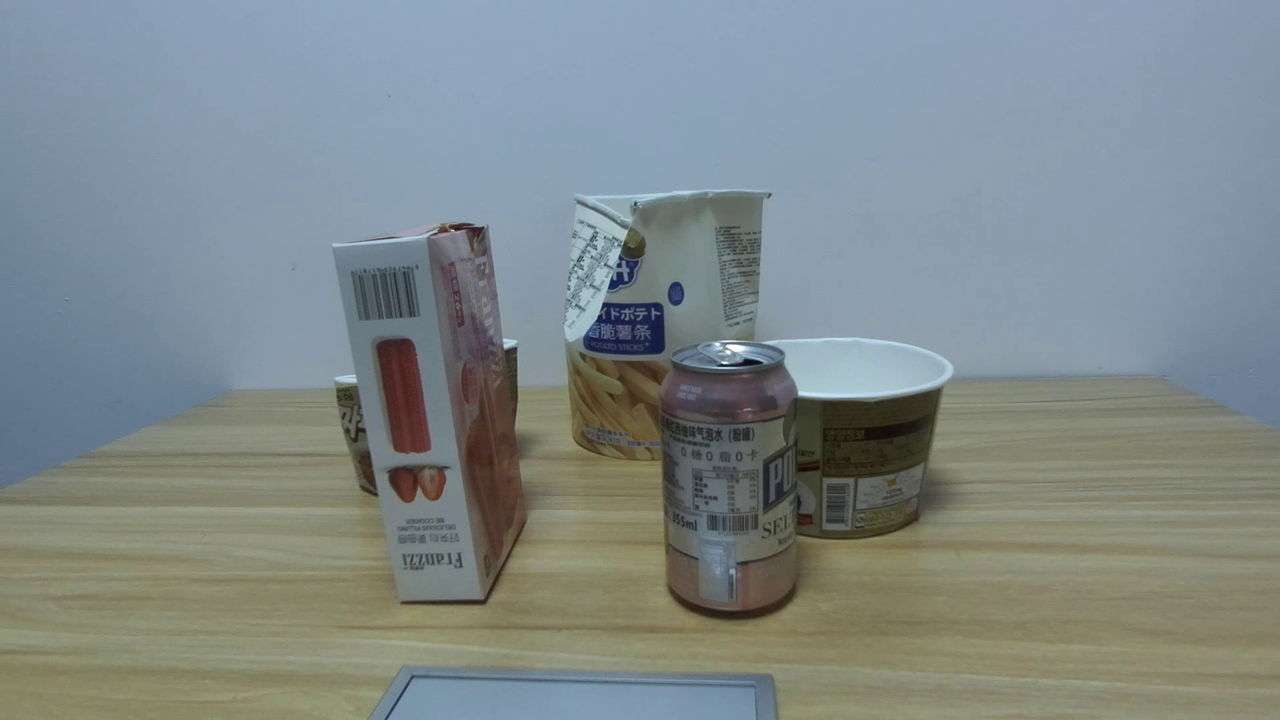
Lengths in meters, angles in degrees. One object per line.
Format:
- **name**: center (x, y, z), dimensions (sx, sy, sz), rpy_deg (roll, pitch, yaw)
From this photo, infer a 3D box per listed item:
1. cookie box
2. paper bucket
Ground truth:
- **cookie box**: center (-0.104, 0.022, 0.385), dimensions (0.049, 0.187, 0.105), rpy_deg (-3, 14, 6)
- **paper bucket**: center (0.005, -0.035, 0.580), dimensions (0.162, 0.202, 0.170), rpy_deg (8, 15, 43)
